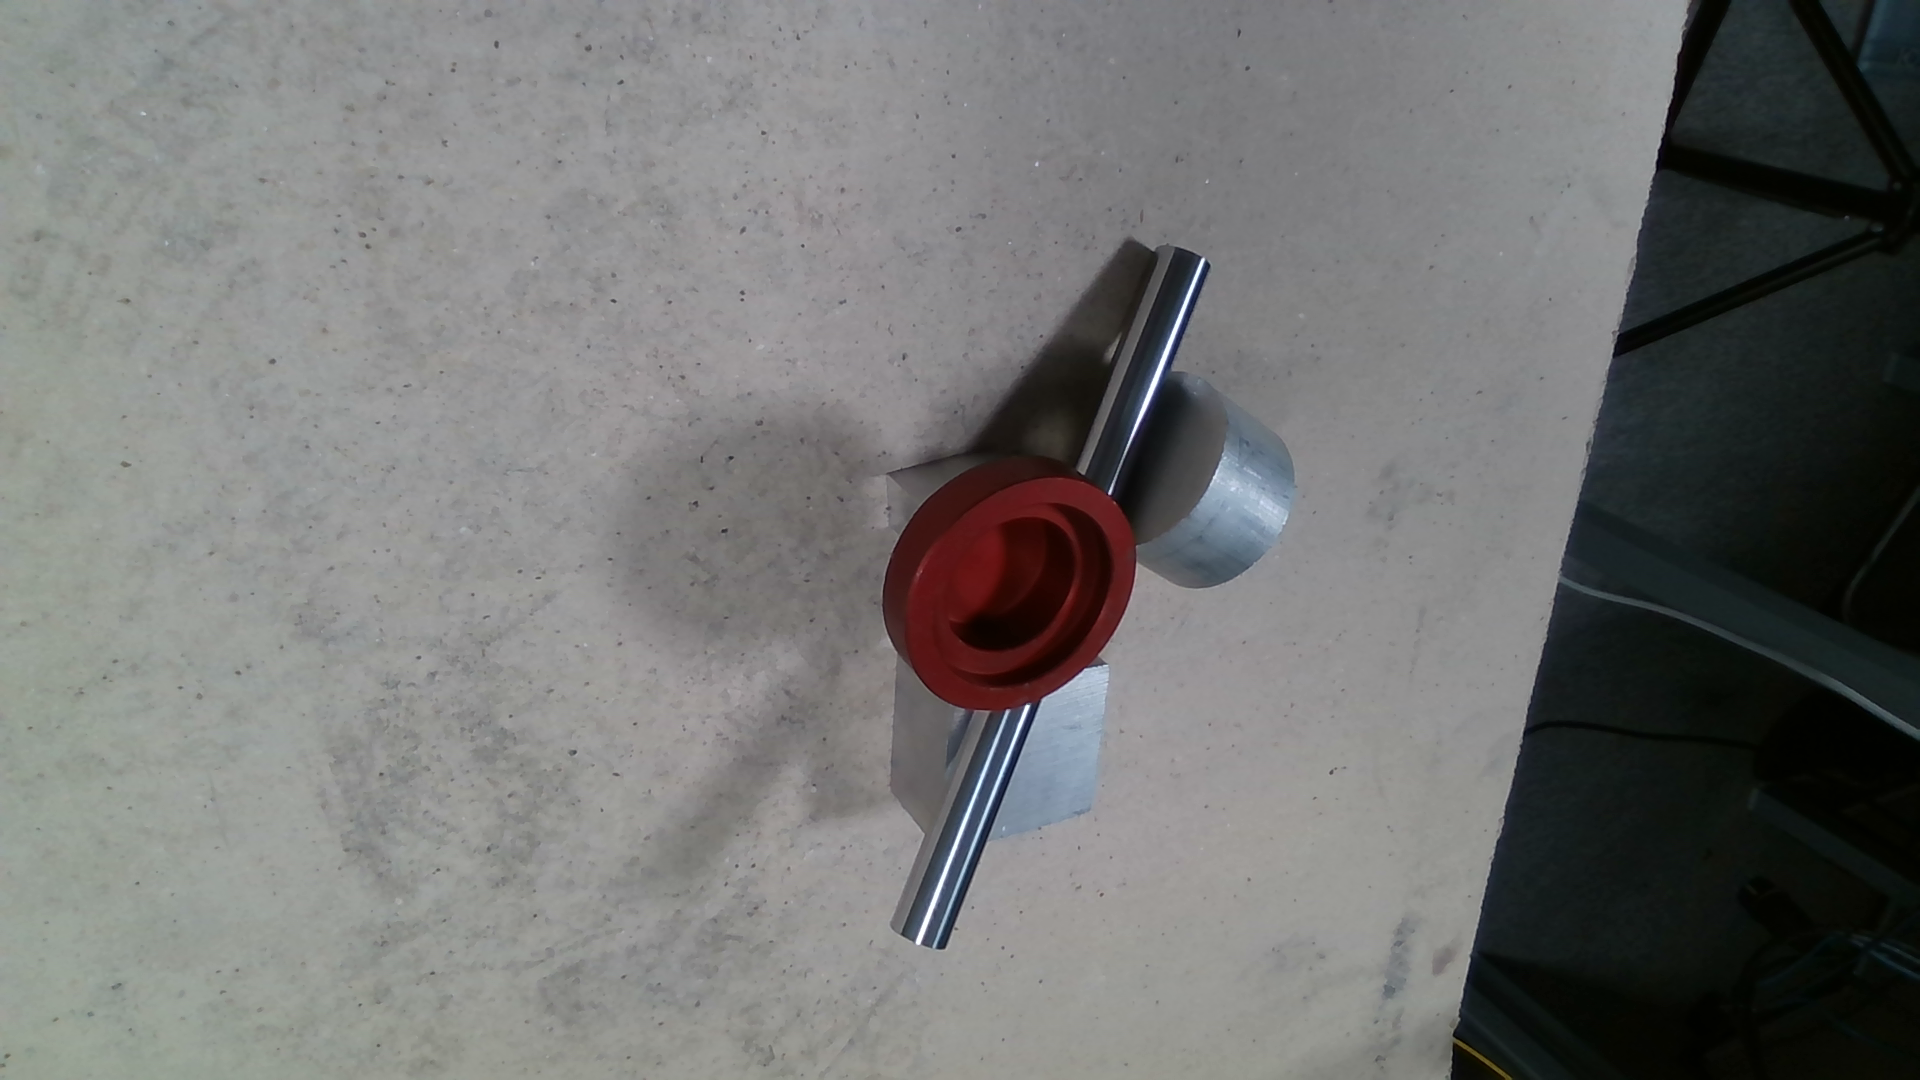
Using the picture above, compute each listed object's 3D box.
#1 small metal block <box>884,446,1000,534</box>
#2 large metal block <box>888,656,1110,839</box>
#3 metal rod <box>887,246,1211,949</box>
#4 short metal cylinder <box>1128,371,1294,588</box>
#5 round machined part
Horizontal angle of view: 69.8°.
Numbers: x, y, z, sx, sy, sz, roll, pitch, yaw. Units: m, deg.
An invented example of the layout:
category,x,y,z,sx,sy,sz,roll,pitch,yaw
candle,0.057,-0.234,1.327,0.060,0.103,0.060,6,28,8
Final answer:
category,x,y,z,sx,sy,sz,roll,pitch,yaw
small metal block,0.003,-0.012,0.561,0.050,0.050,0.025,-16,122,-24
large metal block,0.016,0.086,0.621,0.080,0.050,0.080,-10,120,-27
metal rod,0.037,0.022,0.568,0.025,0.025,0.300,24,87,-38
short metal cylinder,0.095,-0.025,0.590,0.050,0.080,0.080,27,99,-38
round machined part,0.015,0.013,0.522,0.098,0.042,0.098,-14,121,-24
